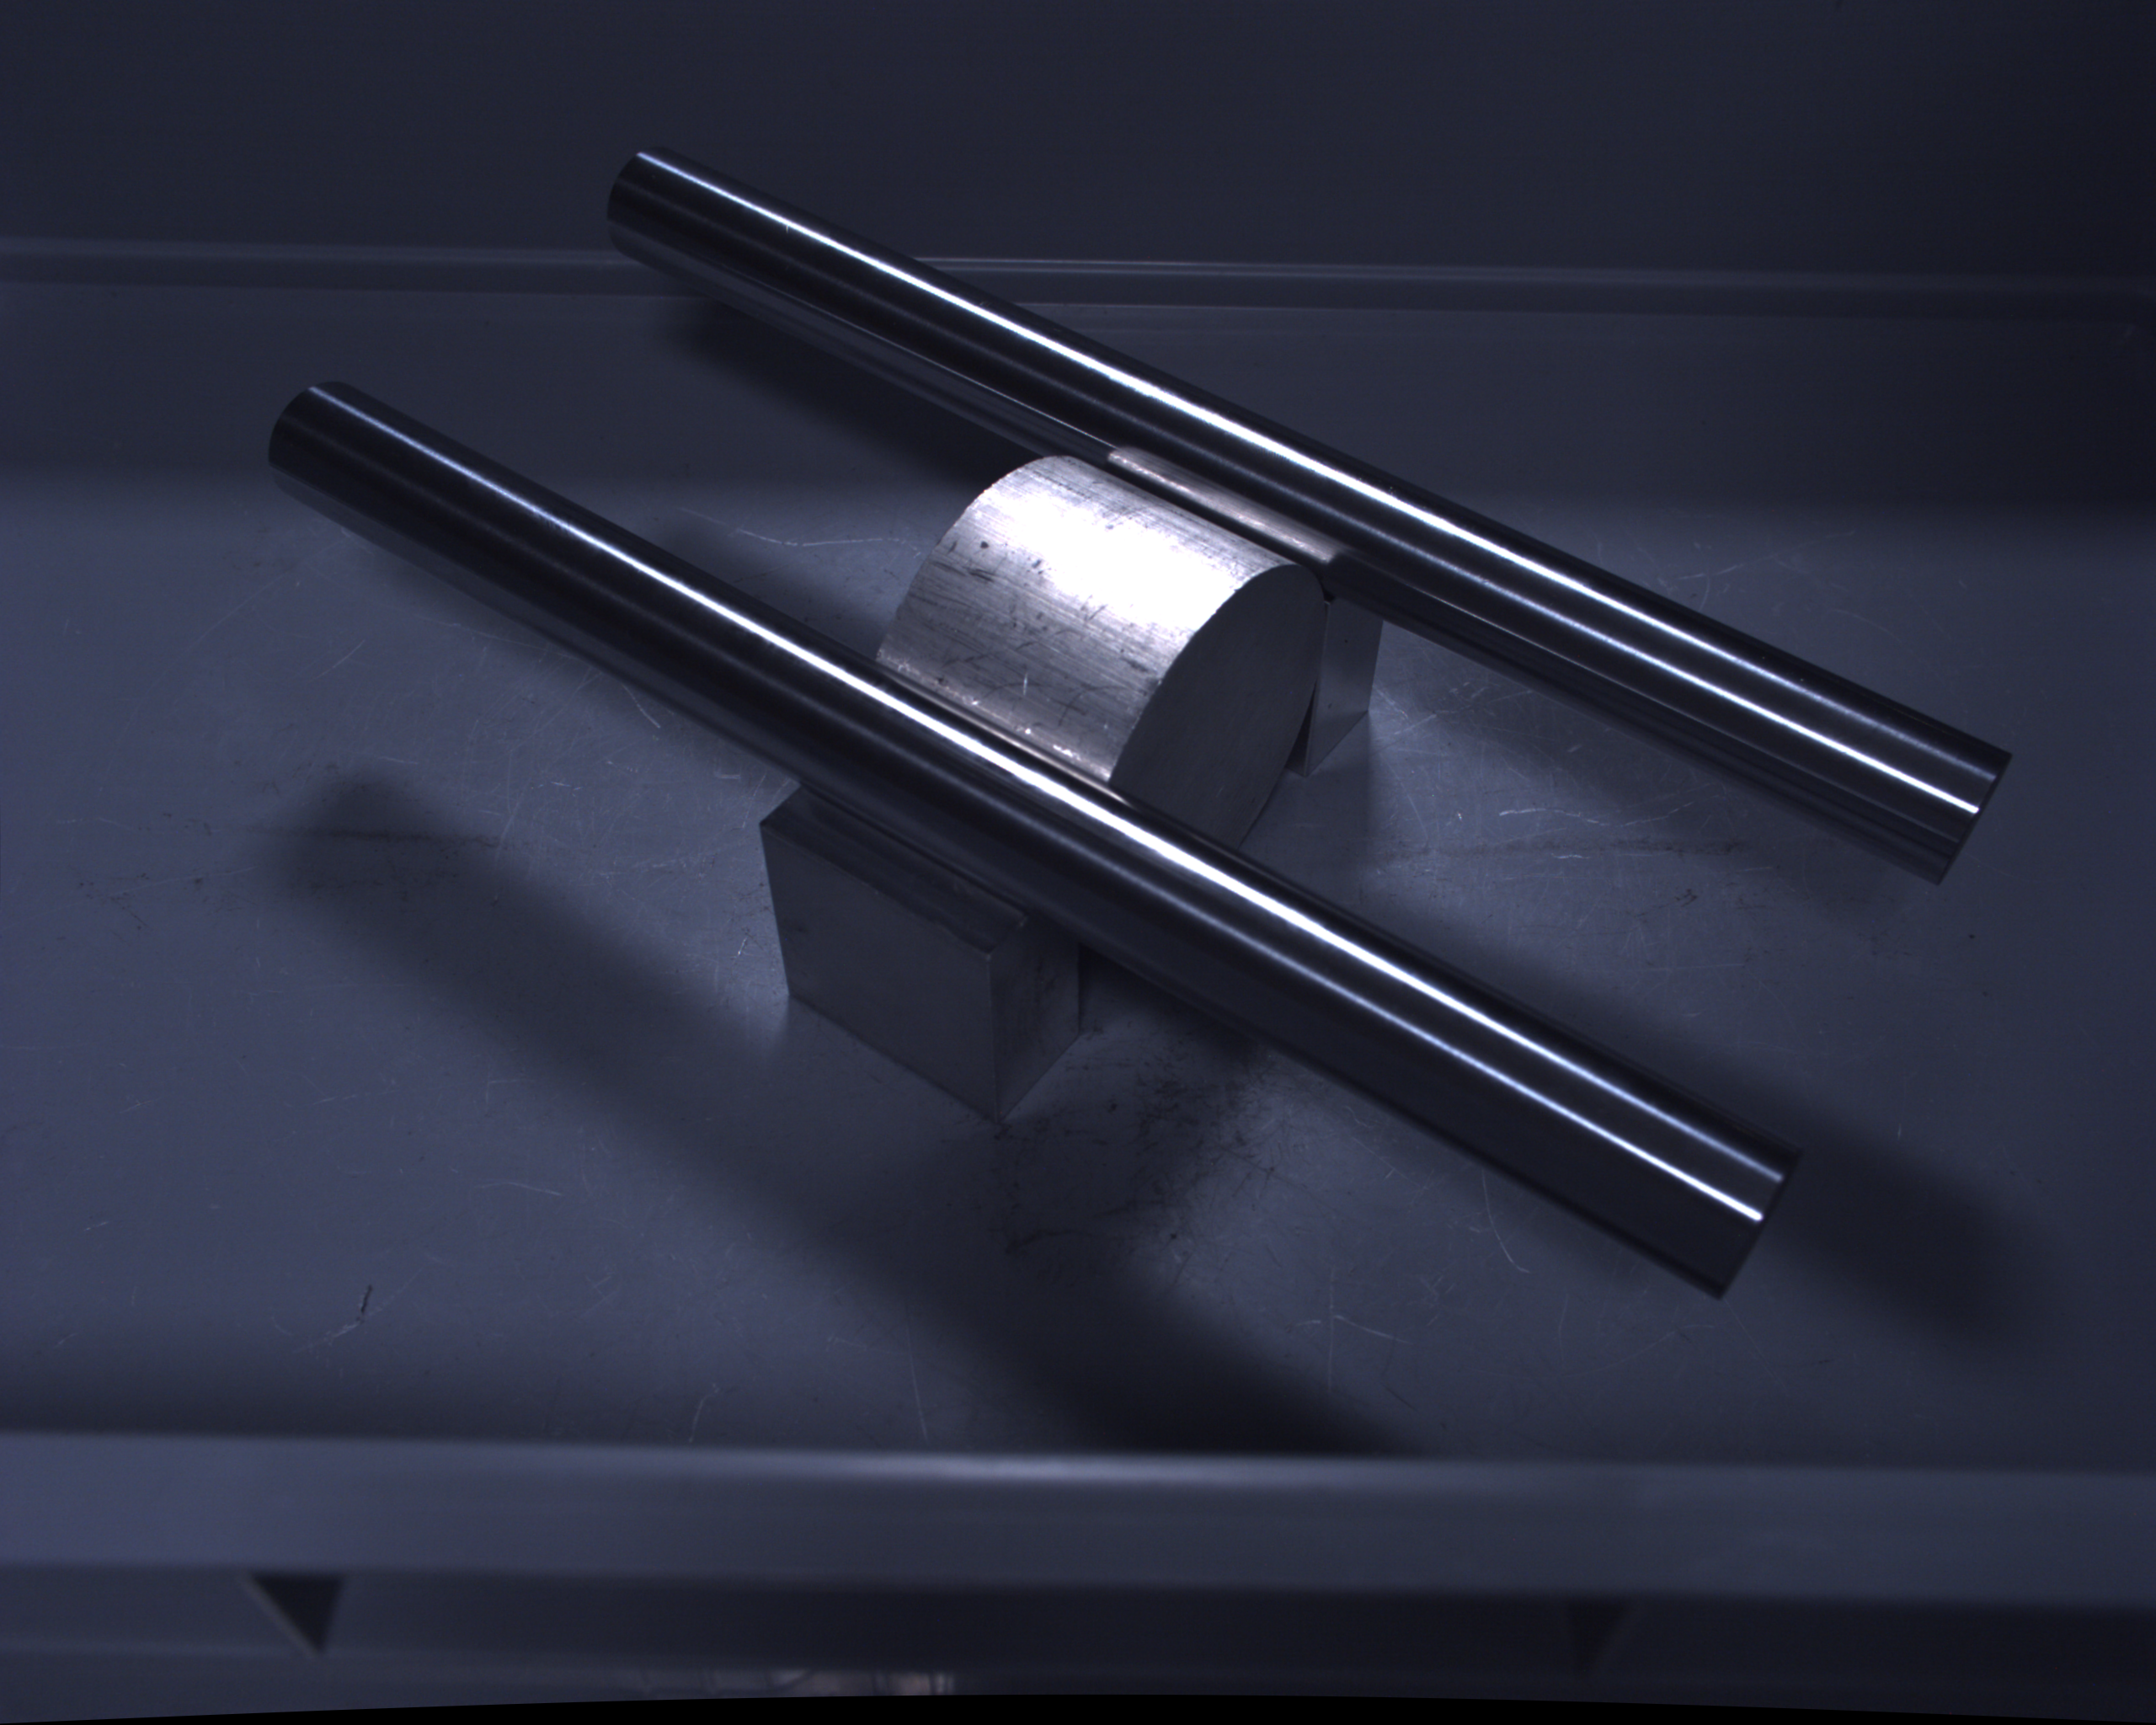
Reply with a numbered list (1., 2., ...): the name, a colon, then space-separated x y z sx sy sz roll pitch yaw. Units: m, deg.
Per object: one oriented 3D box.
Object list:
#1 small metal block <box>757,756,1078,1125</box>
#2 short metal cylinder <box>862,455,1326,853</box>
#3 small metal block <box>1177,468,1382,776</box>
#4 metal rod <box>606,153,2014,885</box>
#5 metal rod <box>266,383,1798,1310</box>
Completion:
1. small metal block: -0.028 0.013 0.376 0.050 0.050 0.025 30 56 22
2. short metal cylinder: 0.004 -0.030 0.393 0.050 0.080 0.080 30 56 22
3. small metal block: 0.035 -0.053 0.431 0.050 0.050 0.025 30 56 22
4. metal rod: 0.028 -0.075 0.402 0.300 0.025 0.025 29 56 22
5. metal rod: -0.026 -0.015 0.352 0.300 0.025 0.025 29 56 22
